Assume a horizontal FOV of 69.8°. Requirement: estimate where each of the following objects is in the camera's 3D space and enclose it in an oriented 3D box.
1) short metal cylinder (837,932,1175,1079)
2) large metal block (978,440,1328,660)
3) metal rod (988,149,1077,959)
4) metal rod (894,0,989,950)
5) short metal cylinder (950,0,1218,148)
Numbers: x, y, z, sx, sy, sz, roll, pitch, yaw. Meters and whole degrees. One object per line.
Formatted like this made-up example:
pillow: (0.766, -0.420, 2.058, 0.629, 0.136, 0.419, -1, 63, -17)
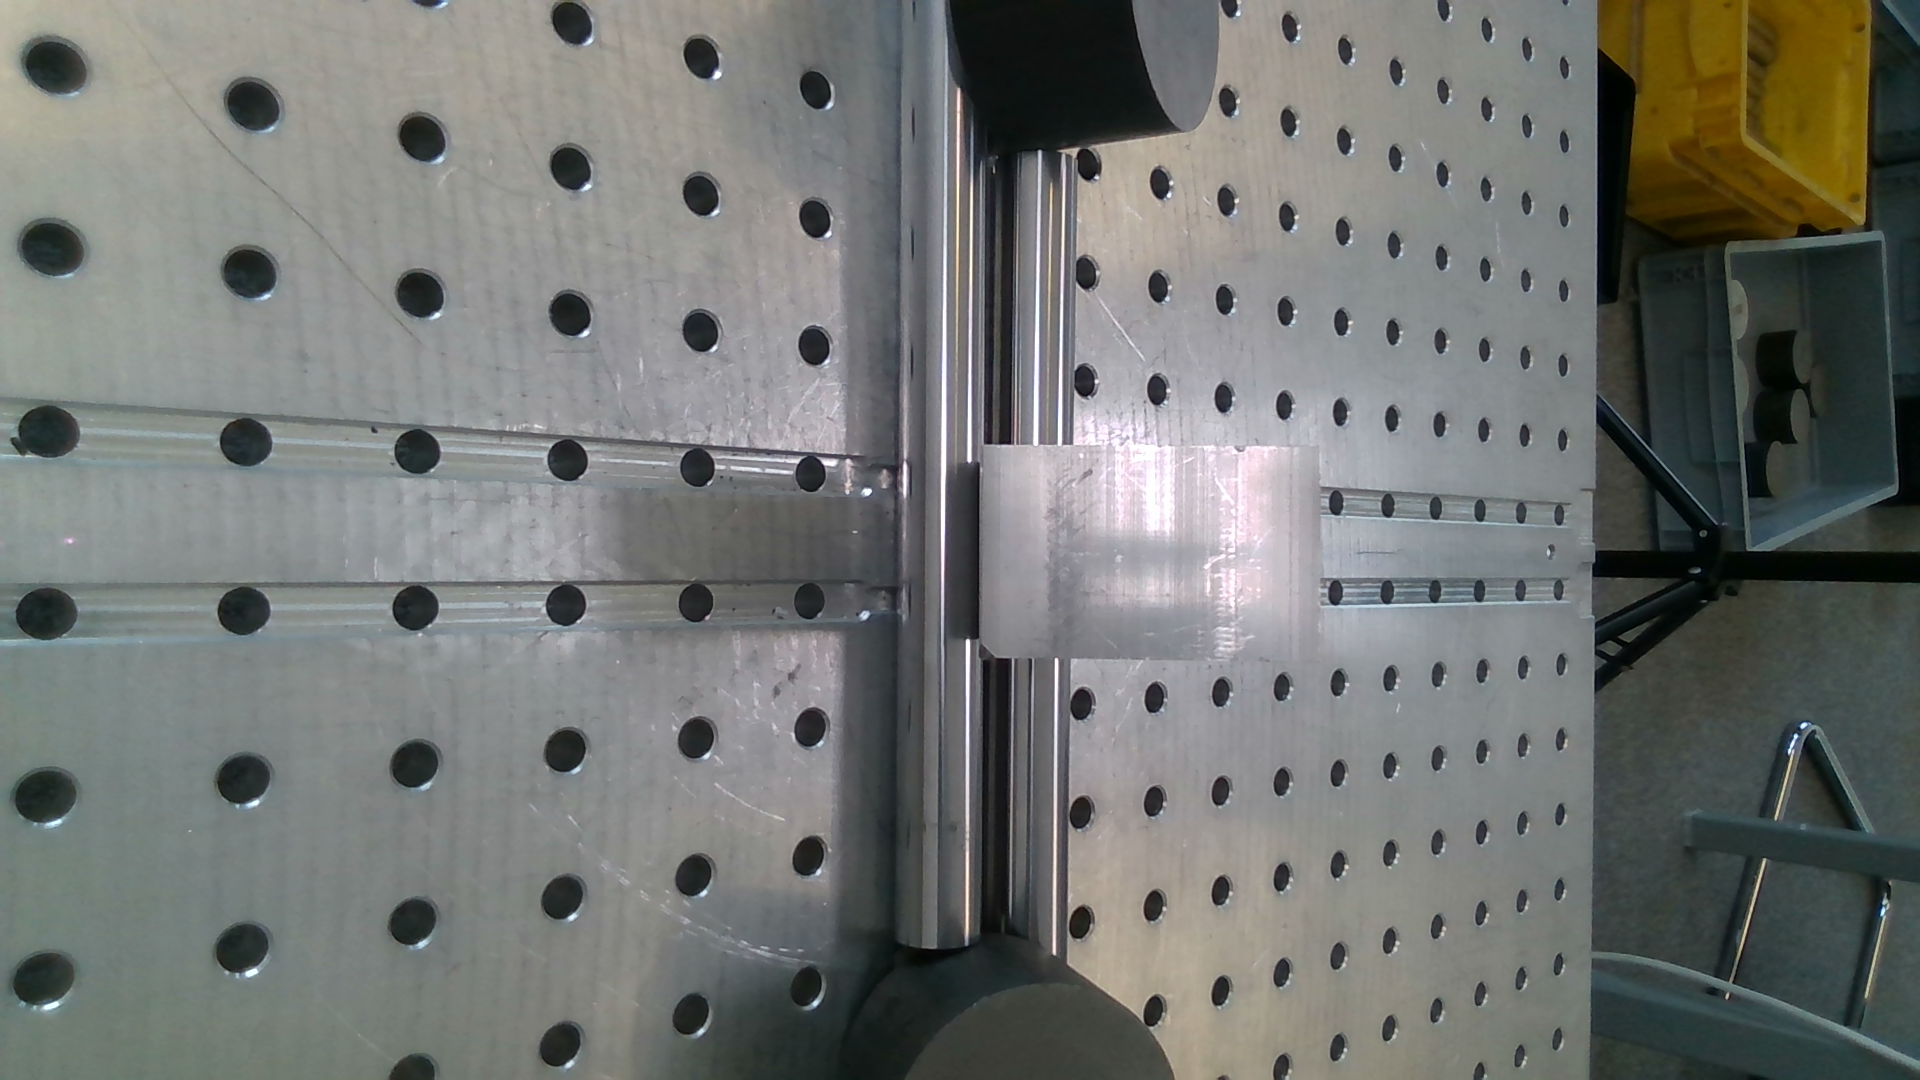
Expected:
short metal cylinder: (0.012, 0.152, 0.371, 0.080, 0.050, 0.080, 0, 89, -18)
large metal block: (0.046, 0.003, 0.358, 0.080, 0.080, 0.050, 0, 89, 2)
metal rod: (0.021, 0.036, 0.412, 0.025, 0.025, 0.300, 1, 90, -40)
metal rod: (-0.005, -0.038, 0.389, 0.025, 0.025, 0.300, 1, 90, -40)
short metal cylinder: (0.037, -0.154, 0.390, 0.080, 0.050, 0.080, -1, 91, -63)
